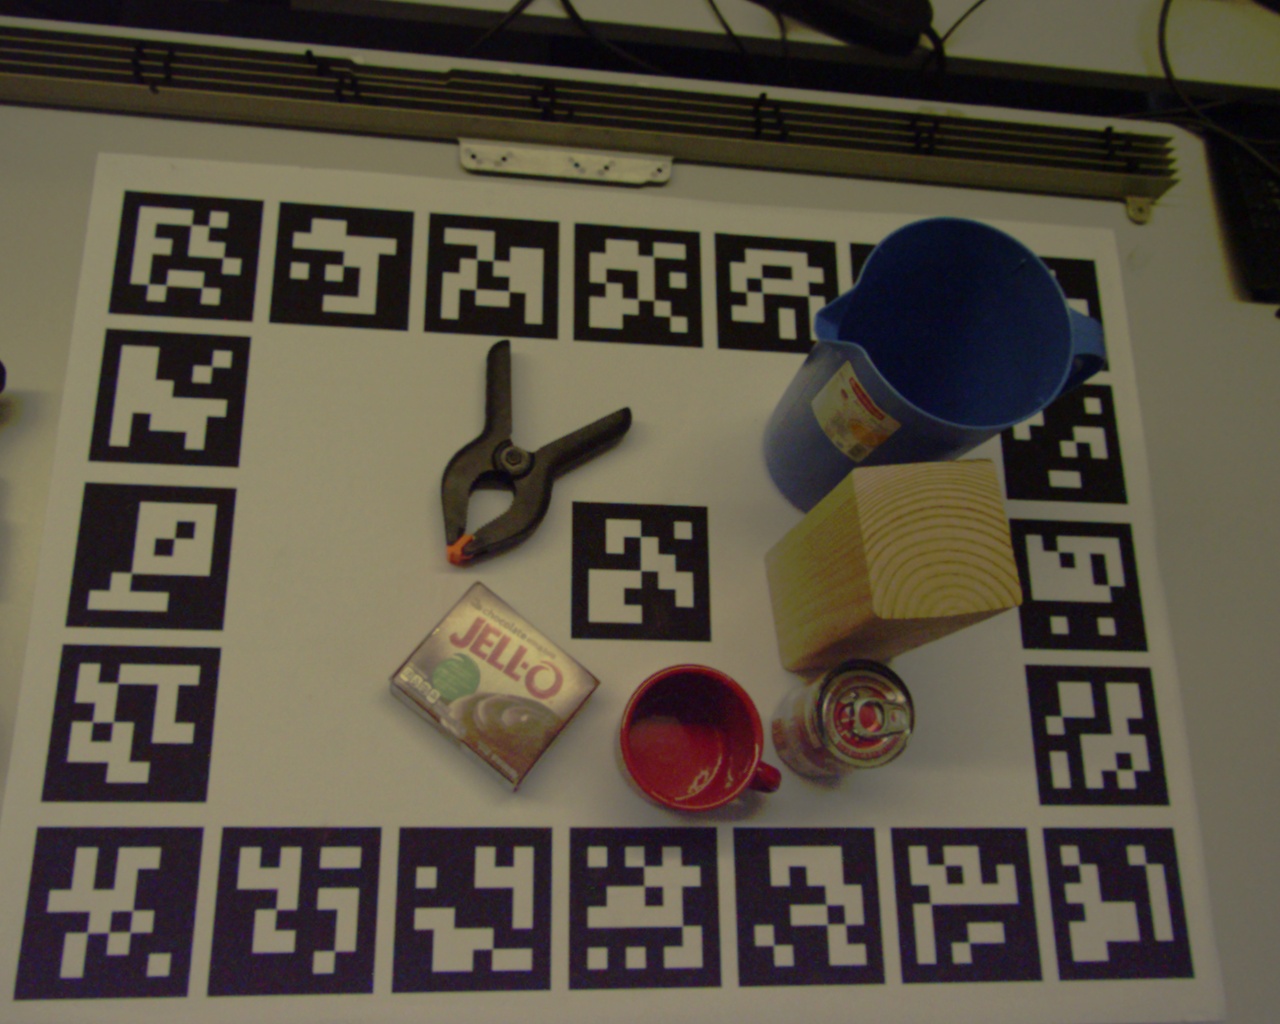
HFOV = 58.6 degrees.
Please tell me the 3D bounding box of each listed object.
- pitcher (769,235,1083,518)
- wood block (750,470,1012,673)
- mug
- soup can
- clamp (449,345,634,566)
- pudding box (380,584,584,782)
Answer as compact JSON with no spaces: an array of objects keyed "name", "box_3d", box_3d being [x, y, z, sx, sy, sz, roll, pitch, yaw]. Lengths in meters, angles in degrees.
[{"name":"pitcher","box_3d":[0.178,-0.073,0.791,0.188,0.242,0.133,1,71,-6]},{"name":"wood block","box_3d":[0.152,0.047,0.768,0.089,0.207,0.091,0,74,-13]},{"name":"mug","box_3d":[0.033,0.165,0.783,0.117,0.081,0.093,37,69,5]},{"name":"soup can","box_3d":[0.126,0.147,0.789,0.067,0.102,0.068,2,76,-8]},{"name":"clamp","box_3d":[-0.091,-0.032,0.856,0.121,0.037,0.165,32,72,-5]},{"name":"pudding box","box_3d":[-0.111,0.120,0.802,0.114,0.039,0.090,38,75,5]}]
